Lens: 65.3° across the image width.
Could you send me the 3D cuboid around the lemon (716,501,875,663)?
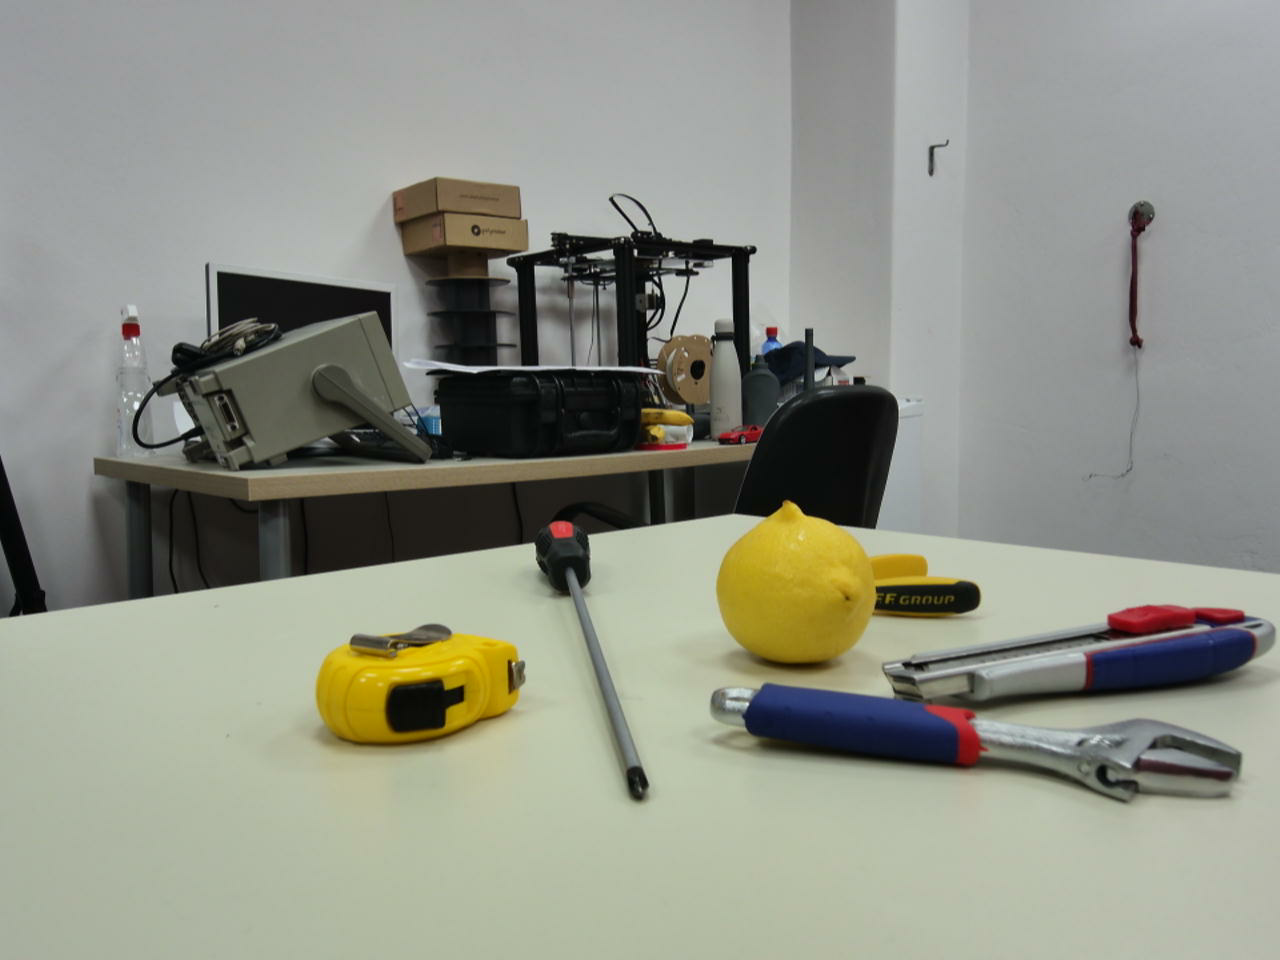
[{"bbox_3d":[0.070,0.046,0.450,0.070,0.071,0.071,1,3,16],"label":"lemon"}]
